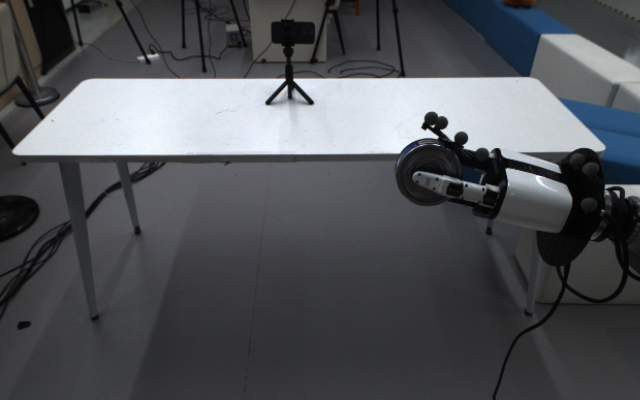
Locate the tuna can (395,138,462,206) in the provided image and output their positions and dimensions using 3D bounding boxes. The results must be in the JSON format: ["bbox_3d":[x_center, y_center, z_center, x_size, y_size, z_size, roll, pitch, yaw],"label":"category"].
[{"bbox_3d":[0.146,-0.030,0.633,0.085,0.085,0.034,7,19,7],"label":"tuna can"}]
